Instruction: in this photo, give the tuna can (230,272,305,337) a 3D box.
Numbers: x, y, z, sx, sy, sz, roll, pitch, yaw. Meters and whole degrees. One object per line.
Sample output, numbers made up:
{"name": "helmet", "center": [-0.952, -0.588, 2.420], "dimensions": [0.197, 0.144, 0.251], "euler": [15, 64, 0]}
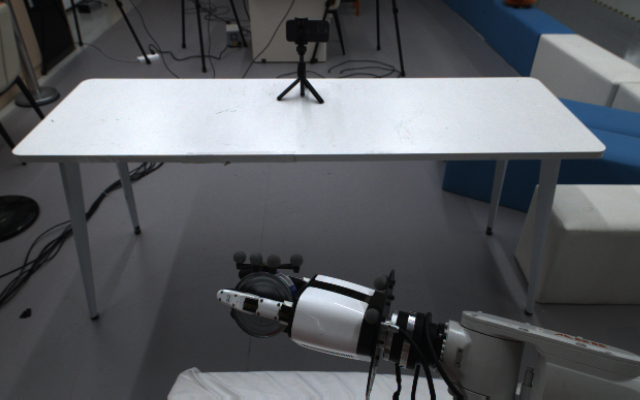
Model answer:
{"name": "tuna can", "center": [-0.069, 0.136, 0.638], "dimensions": [0.085, 0.085, 0.034], "euler": [12, -1, 14]}
